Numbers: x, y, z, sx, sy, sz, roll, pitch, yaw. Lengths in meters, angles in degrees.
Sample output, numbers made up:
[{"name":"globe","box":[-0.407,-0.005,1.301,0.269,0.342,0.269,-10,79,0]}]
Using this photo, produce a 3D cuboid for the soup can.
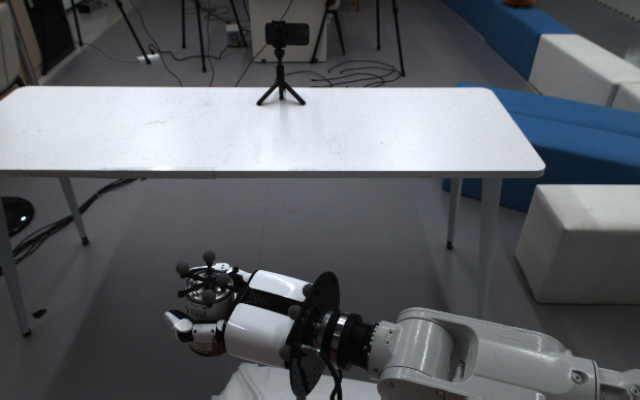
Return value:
[{"name":"soup can","box":[-0.149,0.157,0.666,0.067,0.101,0.067,3,31,-2]}]
